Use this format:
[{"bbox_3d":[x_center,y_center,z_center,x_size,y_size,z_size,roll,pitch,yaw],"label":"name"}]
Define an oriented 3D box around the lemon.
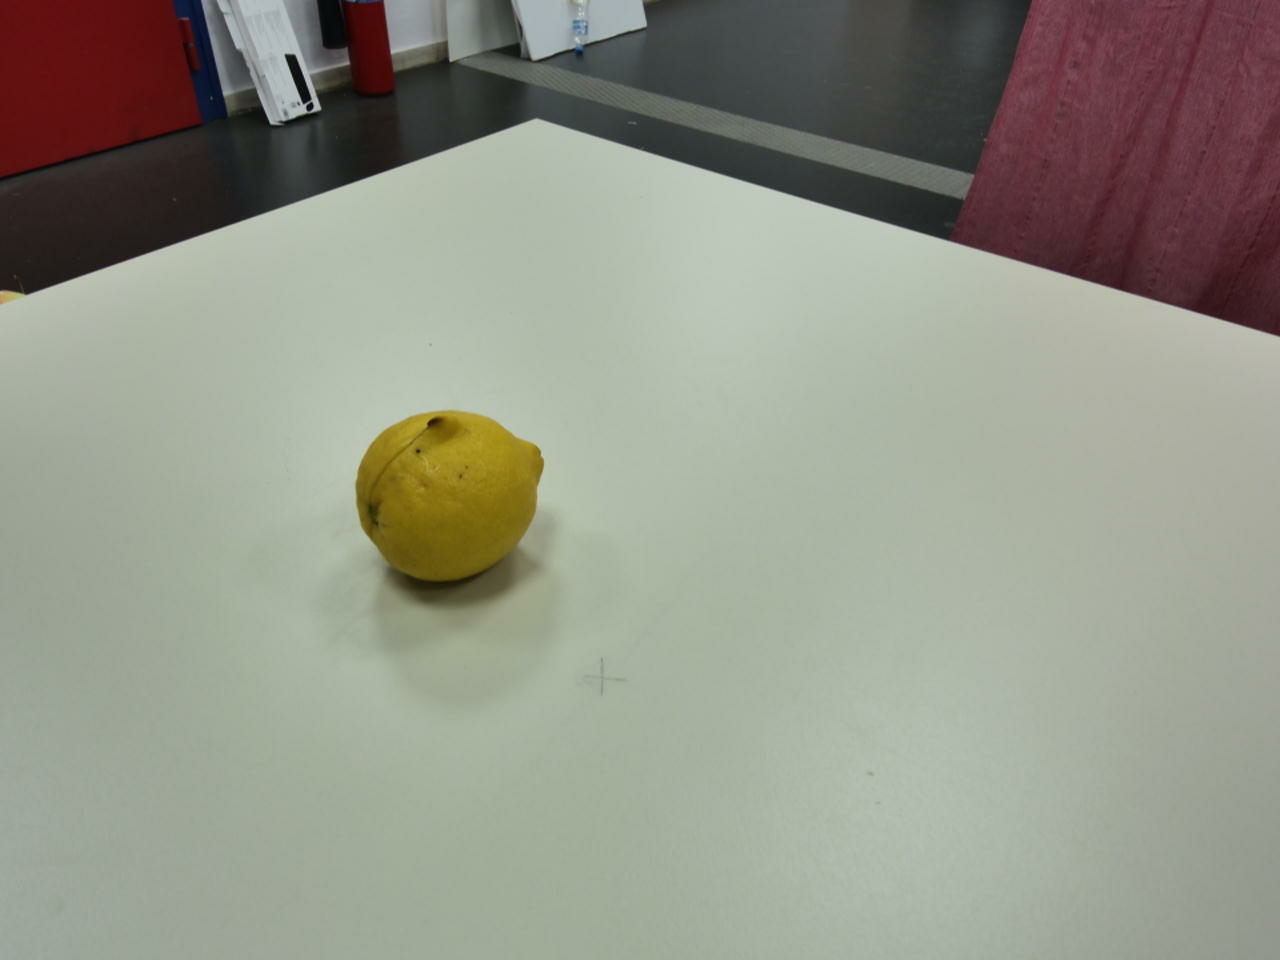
[{"bbox_3d":[-0.078,0.003,0.400,0.071,0.071,0.070,3,36,3],"label":"lemon"}]
